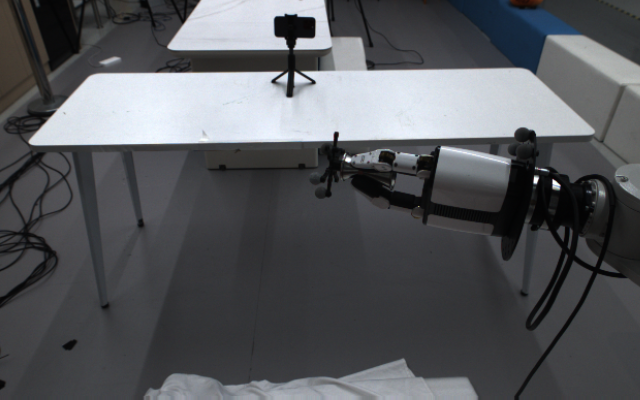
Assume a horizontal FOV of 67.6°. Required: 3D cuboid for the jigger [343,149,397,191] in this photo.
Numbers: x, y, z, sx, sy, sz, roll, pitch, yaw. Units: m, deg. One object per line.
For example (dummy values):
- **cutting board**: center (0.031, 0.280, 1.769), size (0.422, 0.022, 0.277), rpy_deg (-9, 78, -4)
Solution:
- **jigger**: center (0.071, -0.044, 0.635), size (0.071, 0.043, 0.043), rpy_deg (9, 35, 16)
